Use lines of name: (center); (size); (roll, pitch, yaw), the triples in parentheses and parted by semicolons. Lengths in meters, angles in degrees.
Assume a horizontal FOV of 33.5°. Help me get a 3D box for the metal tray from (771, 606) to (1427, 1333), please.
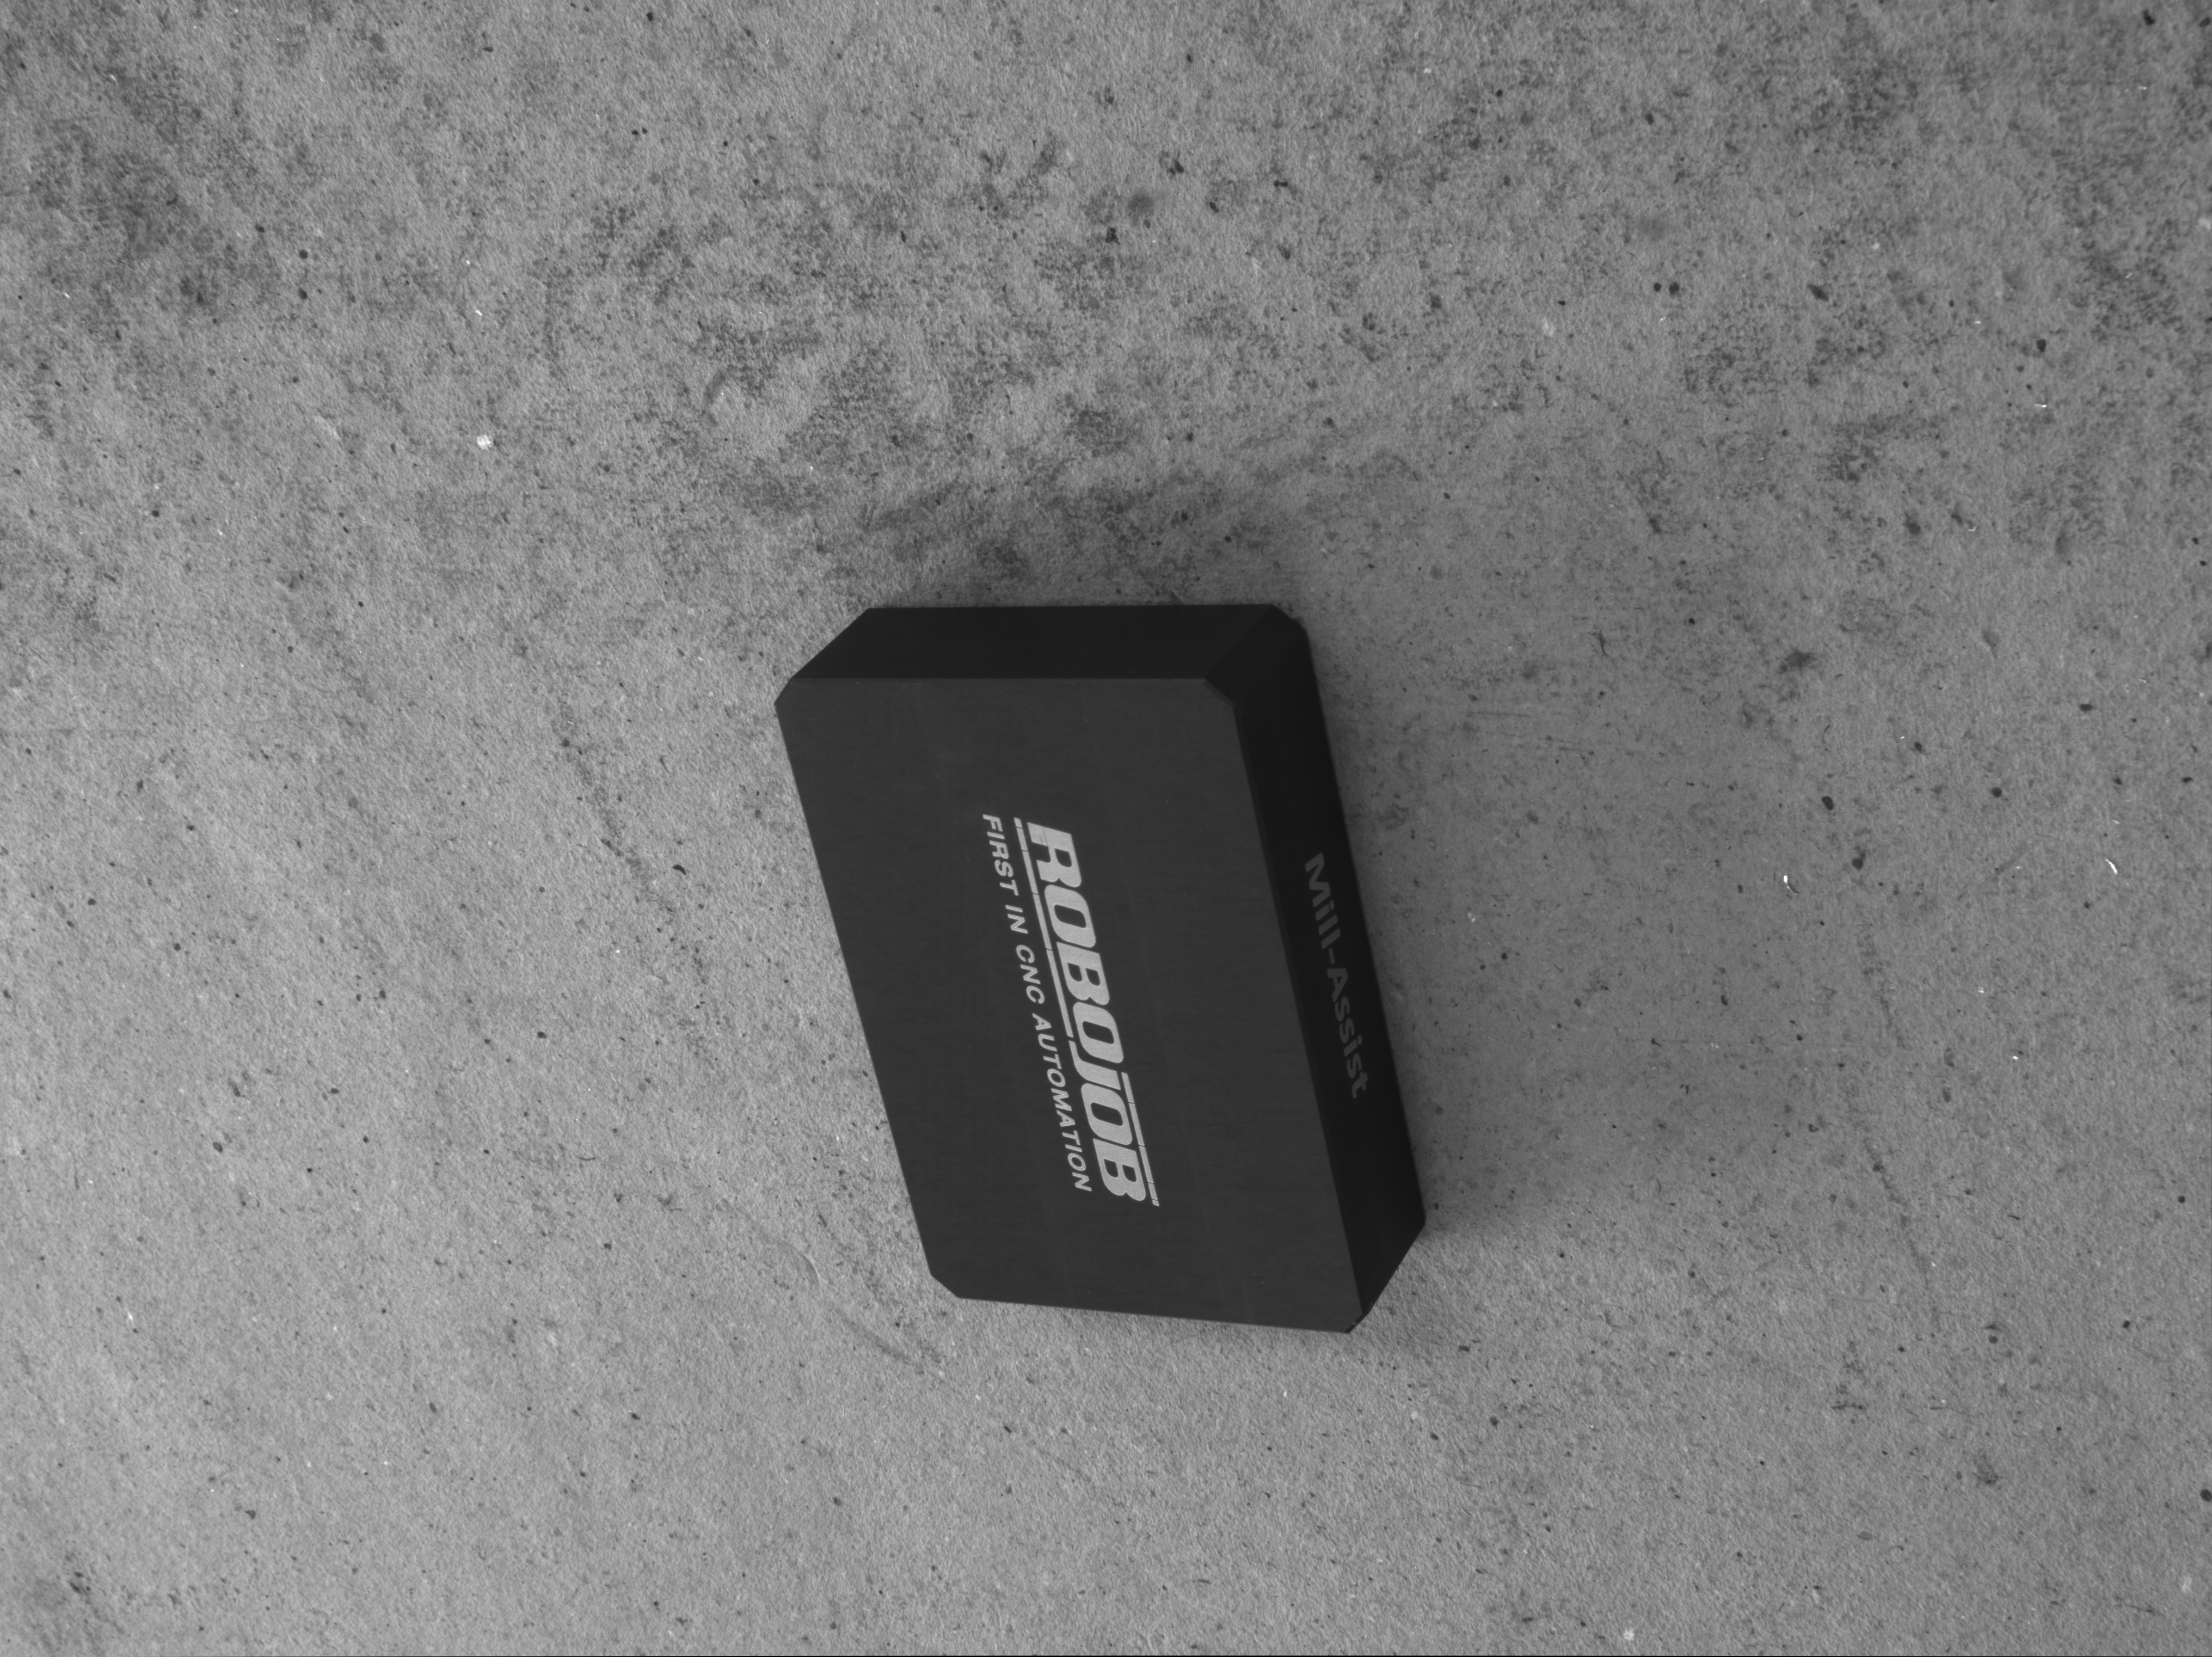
metal tray: (0.000, 0.026, 0.655); (0.090, 0.030, 0.130); (1, 119, 27)
